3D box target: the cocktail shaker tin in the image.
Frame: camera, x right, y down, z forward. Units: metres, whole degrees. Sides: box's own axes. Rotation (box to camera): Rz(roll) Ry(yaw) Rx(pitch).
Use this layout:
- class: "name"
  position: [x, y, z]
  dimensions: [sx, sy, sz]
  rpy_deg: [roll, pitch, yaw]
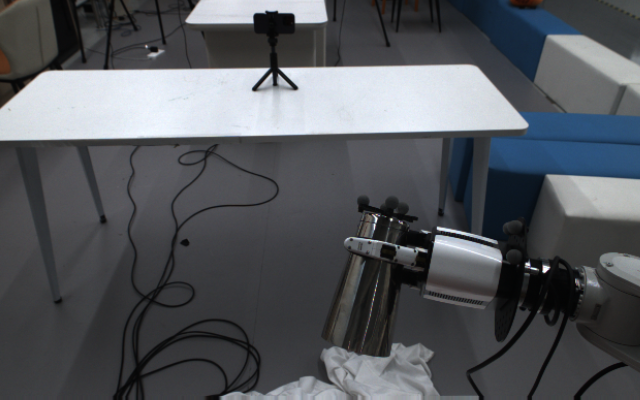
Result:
- class: "cocktail shaker tin"
  position: [0.069, 0.105, 0.641]
  dimensions: [0.093, 0.170, 0.093]
  rpy_deg: [15, -5, 1]
